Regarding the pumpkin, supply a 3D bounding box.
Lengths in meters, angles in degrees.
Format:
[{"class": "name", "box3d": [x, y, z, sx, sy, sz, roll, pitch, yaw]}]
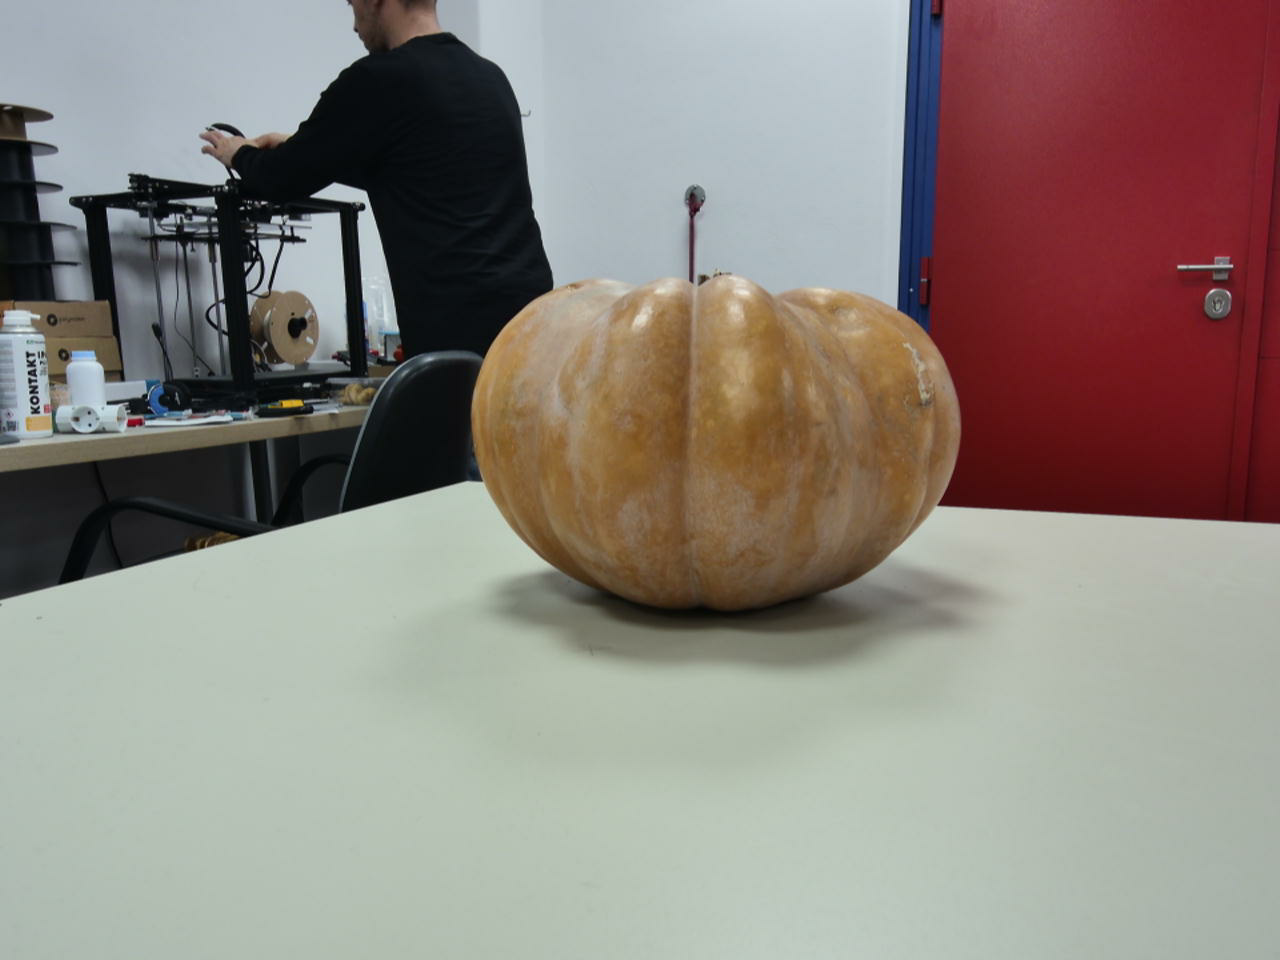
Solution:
[{"class": "pumpkin", "box3d": [0.037, -0.026, 0.568, 0.277, 0.181, 0.277, 0, 6, 0]}]
